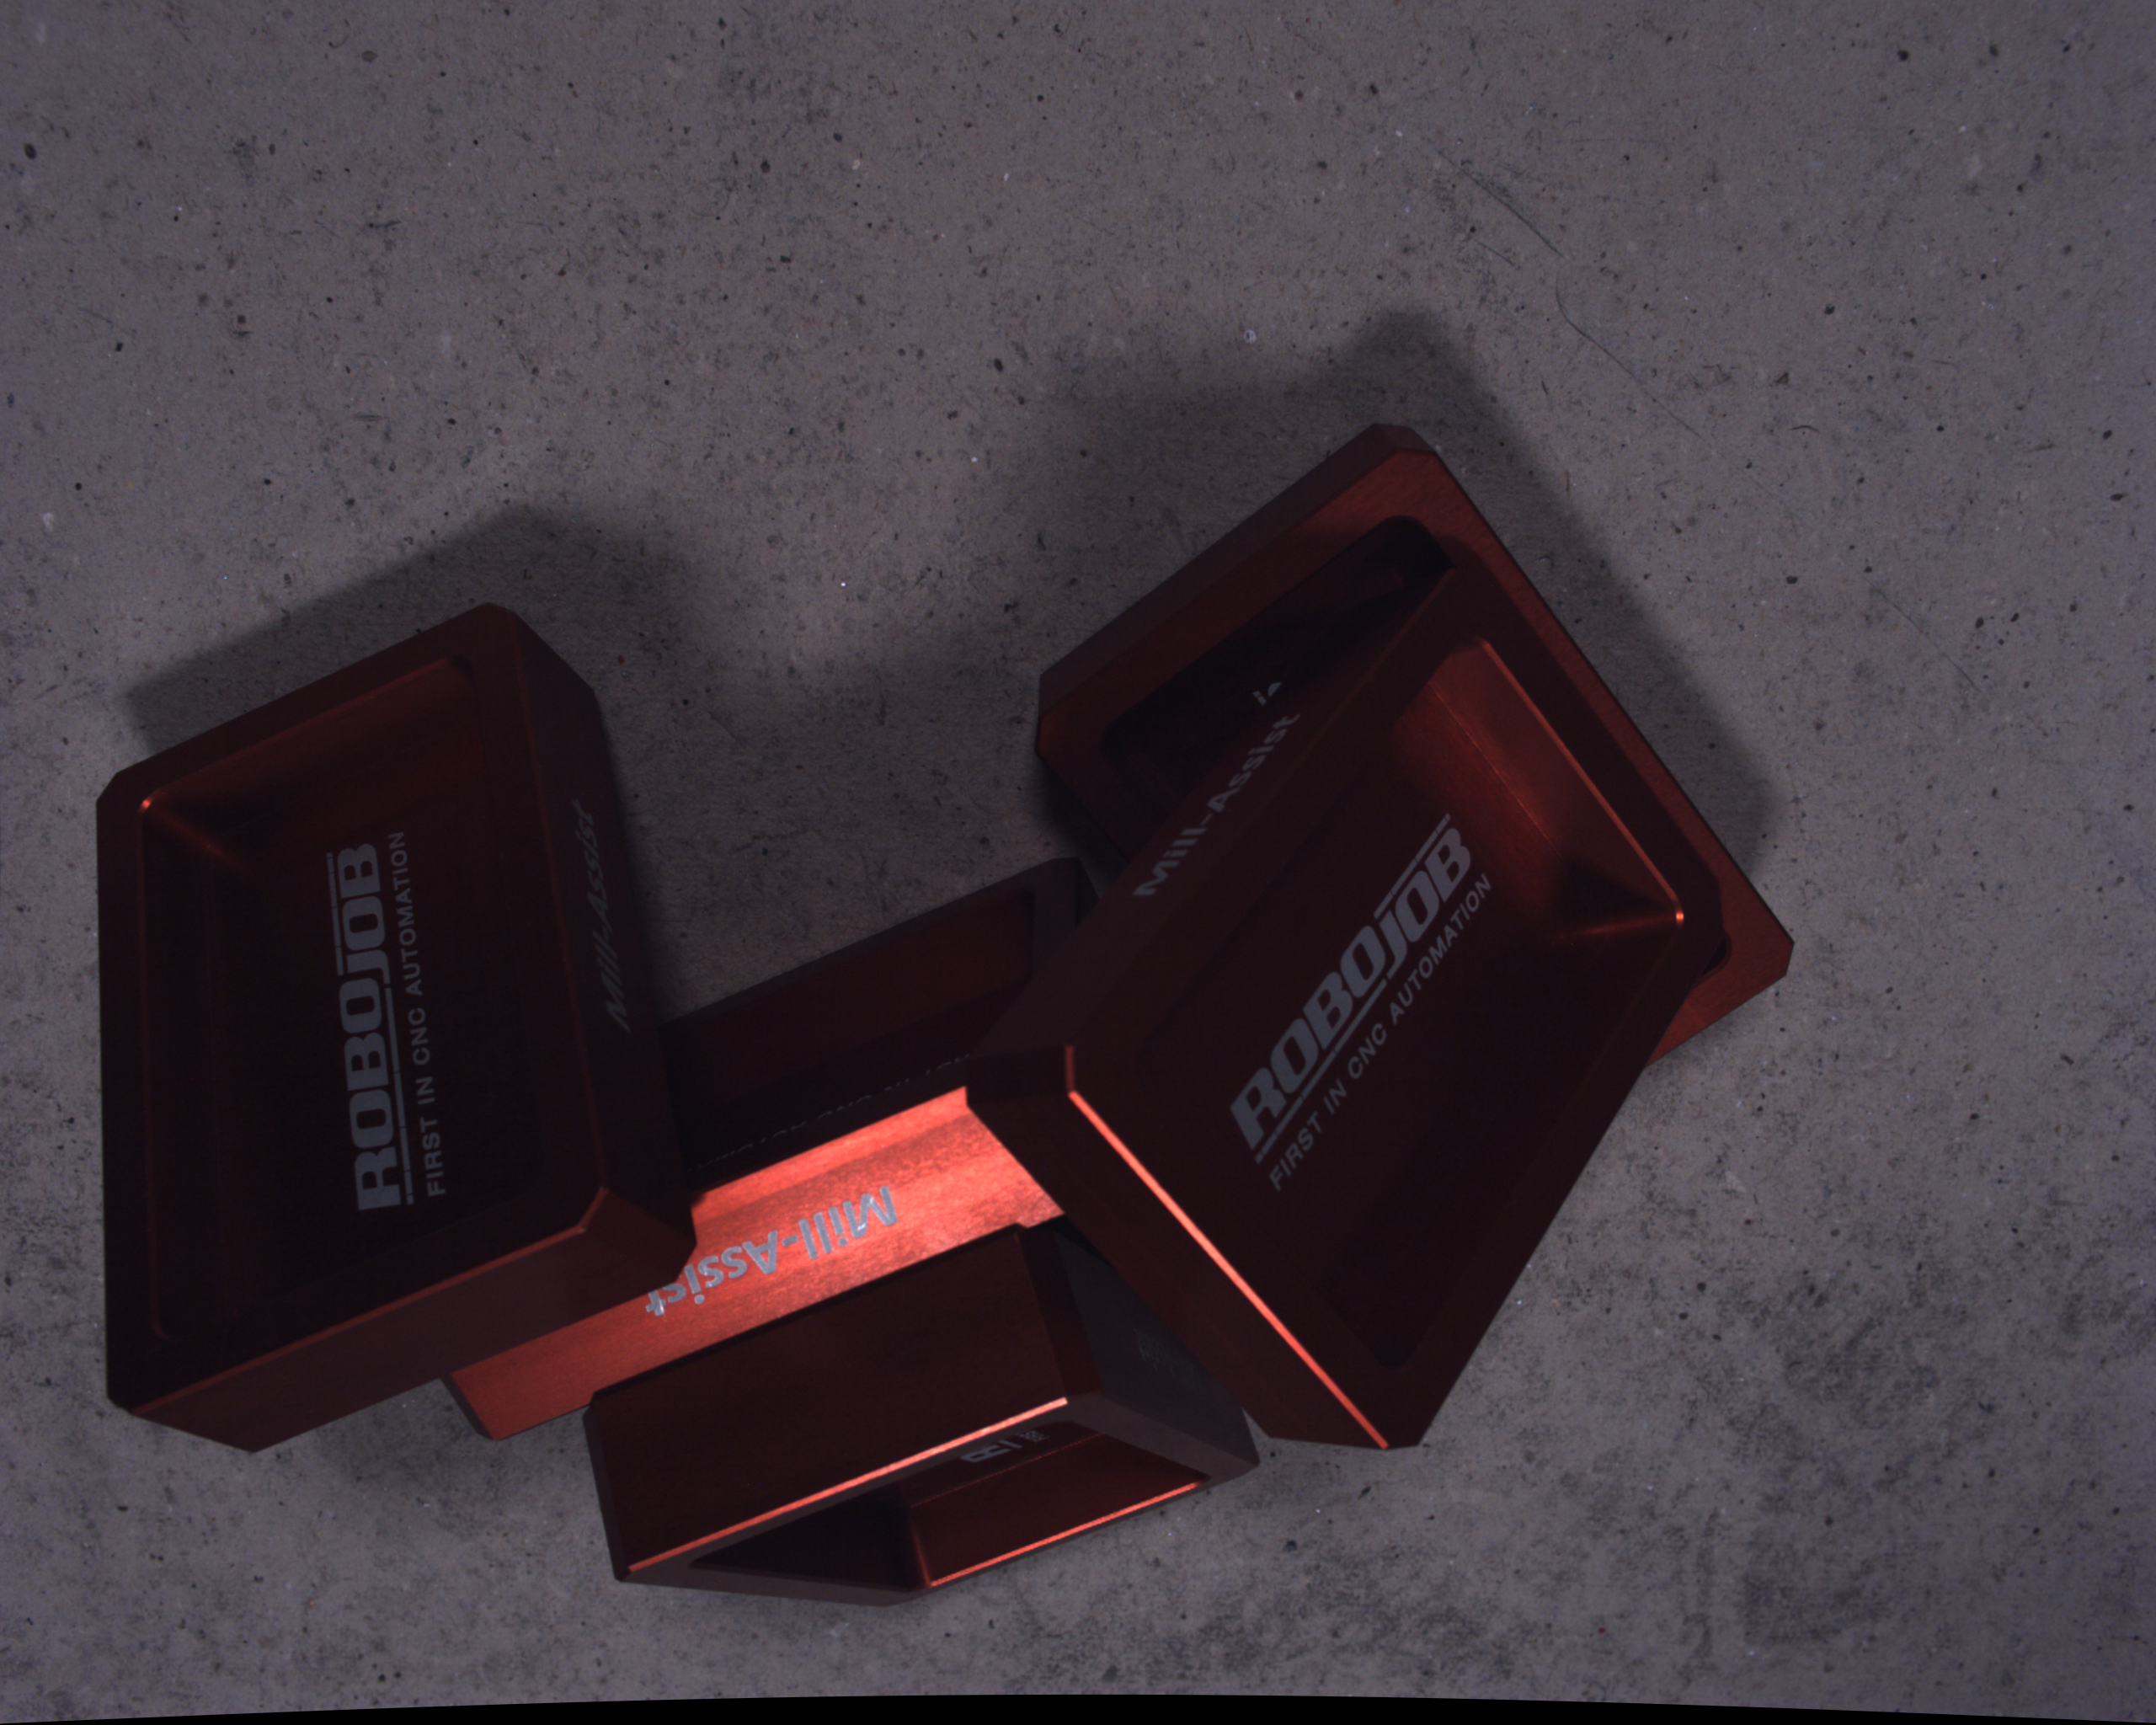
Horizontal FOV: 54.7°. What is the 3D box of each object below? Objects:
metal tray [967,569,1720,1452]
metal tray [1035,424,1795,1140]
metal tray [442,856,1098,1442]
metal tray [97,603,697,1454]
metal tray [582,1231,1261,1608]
[{"bbox_3d":[0.052,0.023,0.361,0.090,0.030,0.130,50,58,-16],"label":"metal tray"},{"bbox_3d":[0.065,-0.007,0.406,0.090,0.030,0.130,-37,107,12],"label":"metal tray"},{"bbox_3d":[-0.053,0.050,0.394,0.130,0.090,0.030,-23,109,8],"label":"metal tray"},{"bbox_3d":[-0.124,0.026,0.368,0.090,0.130,0.030,-23,147,7],"label":"metal tray"},{"bbox_3d":[-0.024,0.113,0.406,0.090,0.130,0.030,-23,64,8],"label":"metal tray"}]
